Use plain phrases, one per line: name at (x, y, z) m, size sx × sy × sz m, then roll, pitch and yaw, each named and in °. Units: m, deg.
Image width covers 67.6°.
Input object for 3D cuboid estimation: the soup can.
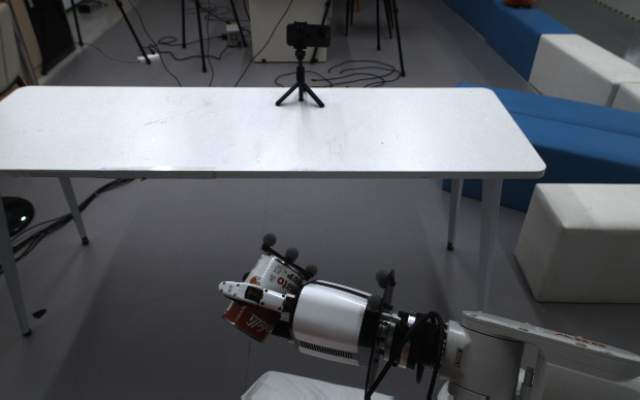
soup can at (-0.074, 0.129, 0.638) m, size 0.067 × 0.067 × 0.101 m, roll 24°, pitch 73°, yaw 29°
